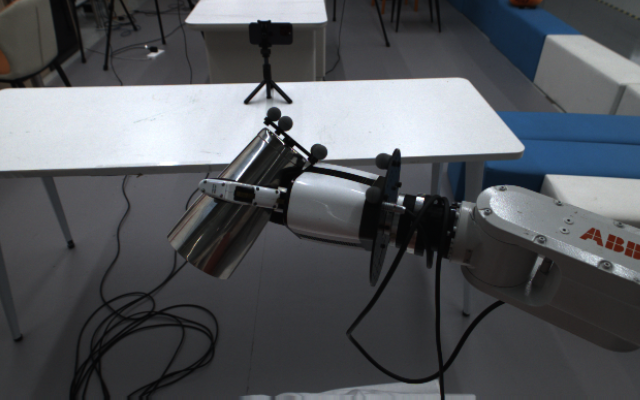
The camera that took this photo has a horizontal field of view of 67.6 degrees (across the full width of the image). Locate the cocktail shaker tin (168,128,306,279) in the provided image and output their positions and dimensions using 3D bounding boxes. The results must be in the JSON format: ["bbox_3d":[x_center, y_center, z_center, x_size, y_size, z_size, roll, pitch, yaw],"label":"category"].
[{"bbox_3d":[-0.092,-0.003,0.583,0.170,0.093,0.093,-50,46,4],"label":"cocktail shaker tin"}]
